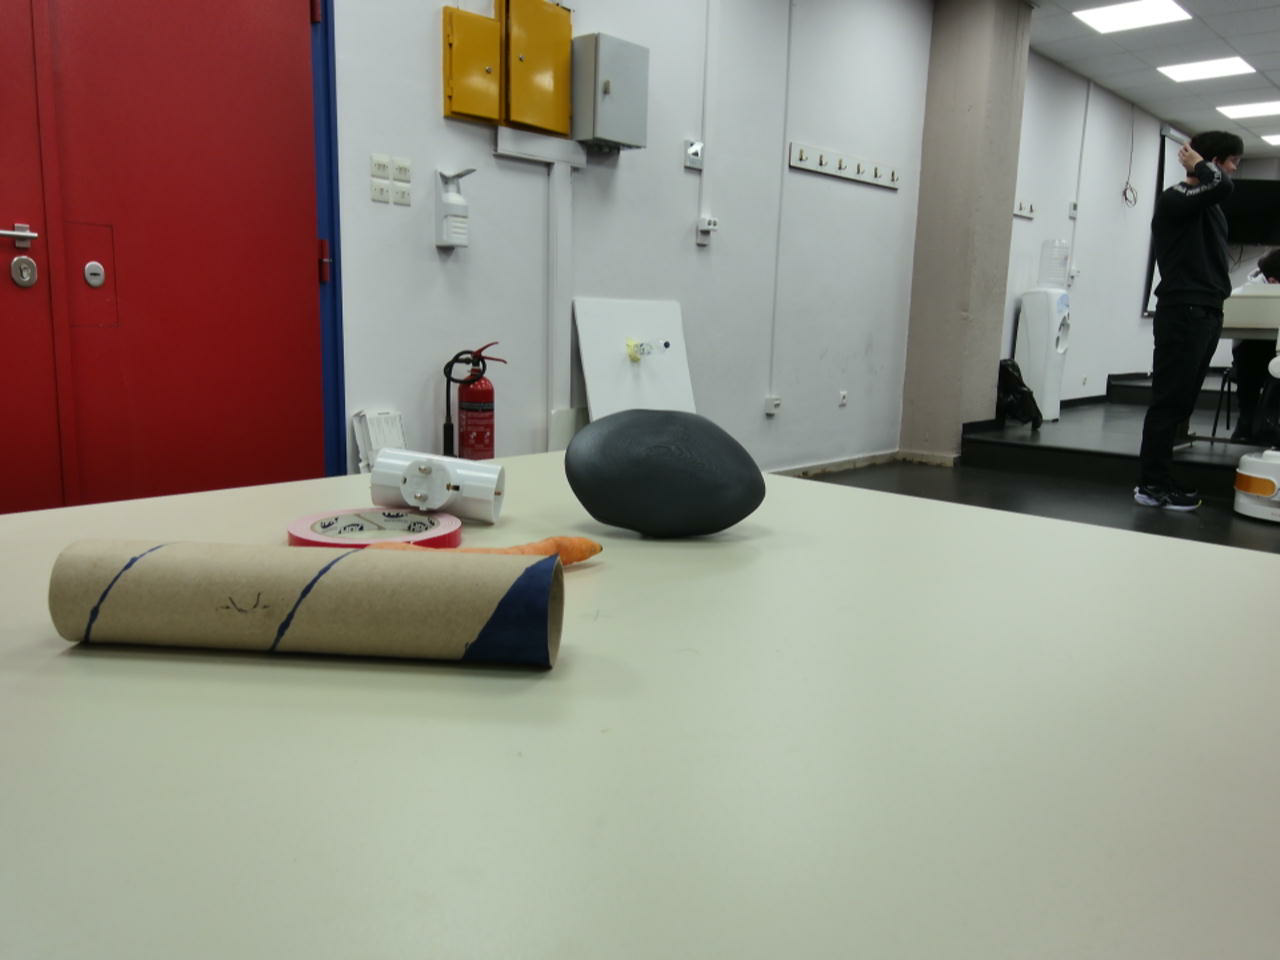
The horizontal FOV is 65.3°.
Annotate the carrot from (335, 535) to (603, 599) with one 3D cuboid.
[{"bbox_3d":[-0.089,0.044,0.568,0.173,0.032,0.030,-6,10,-38],"label":"carrot"}]
